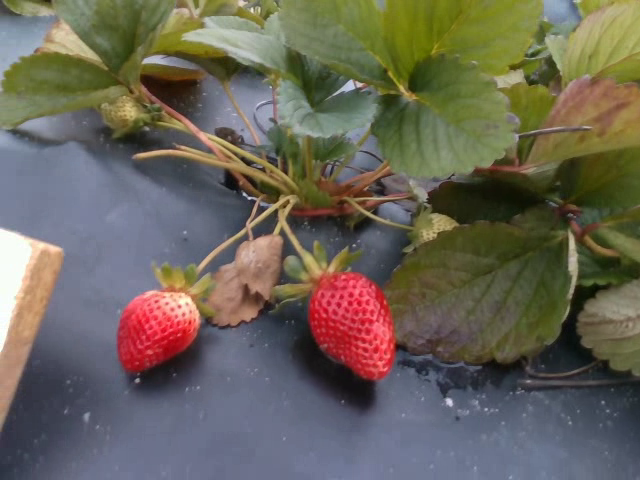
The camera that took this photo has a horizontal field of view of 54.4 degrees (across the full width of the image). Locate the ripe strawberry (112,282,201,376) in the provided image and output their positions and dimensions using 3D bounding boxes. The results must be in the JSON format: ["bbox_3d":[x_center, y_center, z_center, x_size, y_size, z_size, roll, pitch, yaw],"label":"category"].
[{"bbox_3d":[-0.066,0.034,0.243,0.036,0.041,0.028,15,-27,13],"label":"ripe strawberry"}]

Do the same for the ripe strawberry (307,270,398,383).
[{"bbox_3d":[0.014,0.034,0.254,0.044,0.059,0.042,-31,-32,7],"label":"ripe strawberry"}]
